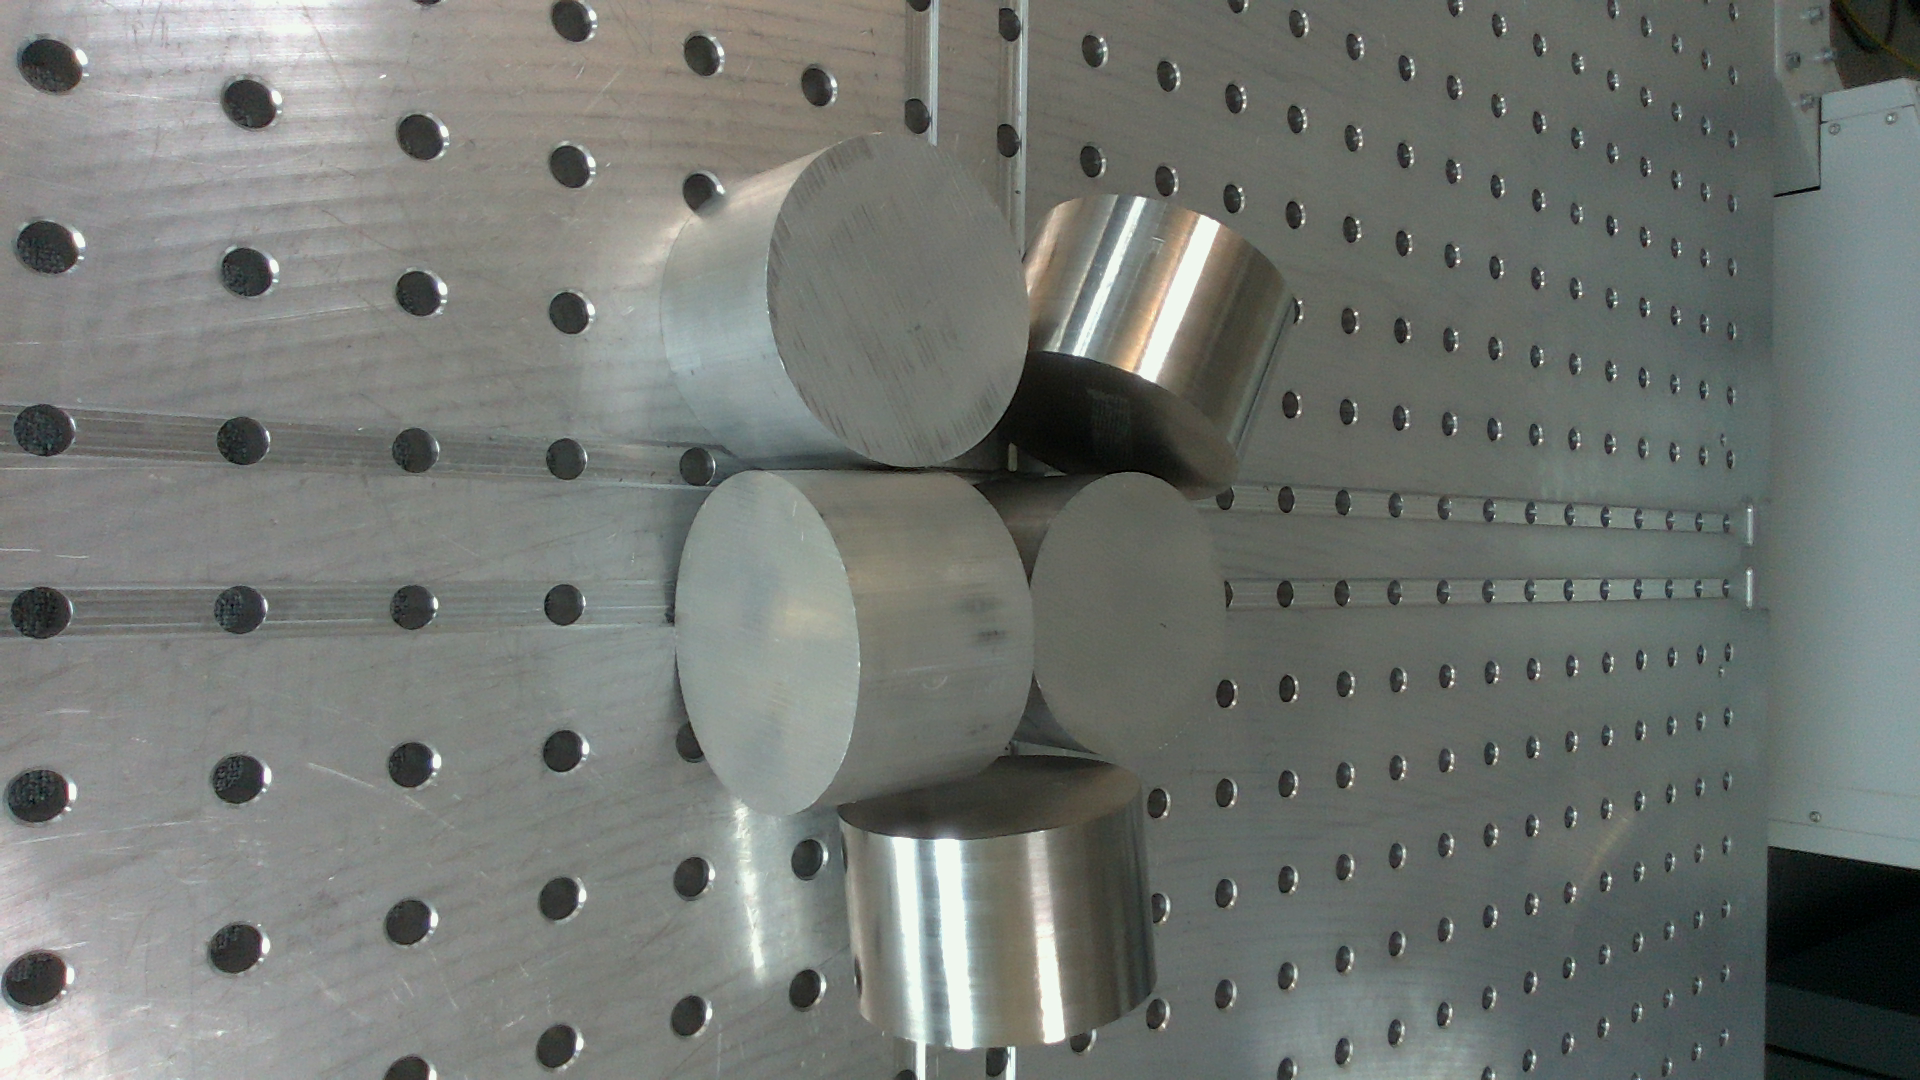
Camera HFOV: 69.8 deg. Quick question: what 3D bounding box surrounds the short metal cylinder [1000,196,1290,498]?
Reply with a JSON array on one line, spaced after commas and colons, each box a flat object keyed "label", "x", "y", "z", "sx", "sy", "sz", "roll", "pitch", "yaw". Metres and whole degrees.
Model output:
[{"label": "short metal cylinder", "x": 0.049, "y": -0.053, "z": 0.397, "sx": 0.080, "sy": 0.080, "sz": 0.050, "roll": 35, "pitch": 68, "yaw": -34}]

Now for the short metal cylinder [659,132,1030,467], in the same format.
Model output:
[{"label": "short metal cylinder", "x": -0.029, "y": -0.058, "z": 0.351, "sx": 0.080, "sy": 0.050, "sz": 0.080, "roll": 0, "pitch": 90, "yaw": -39}]

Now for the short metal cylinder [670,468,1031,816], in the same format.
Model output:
[{"label": "short metal cylinder", "x": -0.028, "y": 0.022, "z": 0.334, "sx": 0.050, "sy": 0.080, "sz": 0.080, "roll": -3, "pitch": 92, "yaw": -40}]

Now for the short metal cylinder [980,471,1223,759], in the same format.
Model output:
[{"label": "short metal cylinder", "x": 0.032, "y": 0.021, "z": 0.402, "sx": 0.080, "sy": 0.050, "sz": 0.080, "roll": -1, "pitch": 91, "yaw": -40}]

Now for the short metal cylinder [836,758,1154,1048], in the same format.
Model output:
[{"label": "short metal cylinder", "x": 0.009, "y": 0.092, "z": 0.363, "sx": 0.080, "sy": 0.080, "sz": 0.050, "roll": -8, "pitch": 96, "yaw": -40}]
